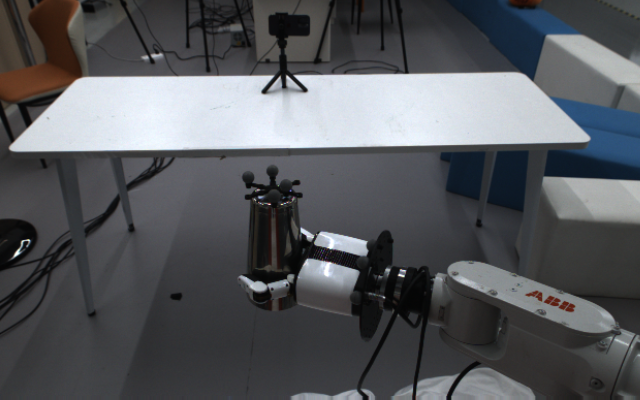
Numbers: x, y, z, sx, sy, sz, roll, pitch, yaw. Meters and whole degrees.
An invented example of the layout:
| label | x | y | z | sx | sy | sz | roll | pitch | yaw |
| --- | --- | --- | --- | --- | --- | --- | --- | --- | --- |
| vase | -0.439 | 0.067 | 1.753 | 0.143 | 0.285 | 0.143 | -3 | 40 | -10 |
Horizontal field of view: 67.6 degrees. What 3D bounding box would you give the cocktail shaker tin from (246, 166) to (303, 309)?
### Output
| label | x | y | z | sx | sy | sz | roll | pitch | yaw |
| --- | --- | --- | --- | --- | --- | --- | --- | --- | --- |
| cocktail shaker tin | -0.066 | 0.067 | 0.715 | 0.093 | 0.170 | 0.093 | 1 | 28 | -1 |
